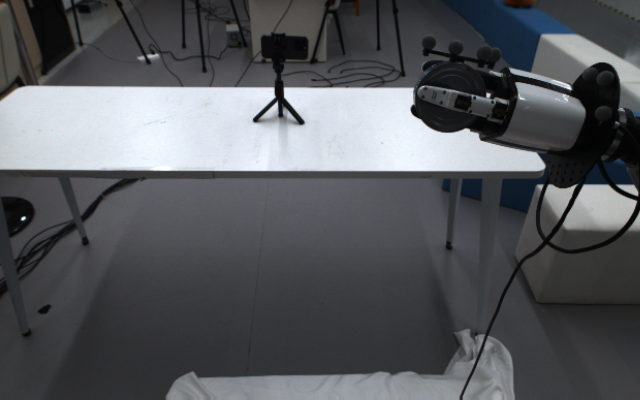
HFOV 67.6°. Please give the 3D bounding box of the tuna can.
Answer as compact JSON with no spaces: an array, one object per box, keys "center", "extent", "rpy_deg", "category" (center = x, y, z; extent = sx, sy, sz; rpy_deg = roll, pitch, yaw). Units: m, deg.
[{"center":[0.161,-0.134,0.608],"extent":[0.085,0.085,0.034],"rpy_deg":[5,19,4],"category":"tuna can"}]
